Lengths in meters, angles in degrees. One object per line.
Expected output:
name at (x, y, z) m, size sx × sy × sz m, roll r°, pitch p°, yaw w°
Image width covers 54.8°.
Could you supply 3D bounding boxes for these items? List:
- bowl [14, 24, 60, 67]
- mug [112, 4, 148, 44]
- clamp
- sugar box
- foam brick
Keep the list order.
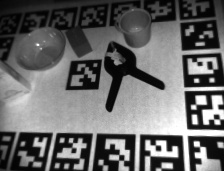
bowl at (-0.228, -0.118, 0.688) m, size 0.161 × 0.055 × 0.161 m, roll -4°, pitch 67°, yaw 10°
mug at (0.050, -0.180, 0.636) m, size 0.116 × 0.082 × 0.093 m, roll 25°, pitch 75°, yaw 18°
clamp at (0.014, -0.054, 0.611) m, size 0.165 × 0.037 × 0.201 m, roll -23°, pitch 65°, yaw 4°
sugar box at (-0.323, -0.017, 0.600) m, size 0.093 × 0.178 × 0.045 m, roll -24°, pitch 66°, yaw 1°
foam brick at (-0.111, -0.143, 0.682) m, size 0.053 × 0.052 × 0.077 m, roll -27°, pitch 65°, yaw 2°
